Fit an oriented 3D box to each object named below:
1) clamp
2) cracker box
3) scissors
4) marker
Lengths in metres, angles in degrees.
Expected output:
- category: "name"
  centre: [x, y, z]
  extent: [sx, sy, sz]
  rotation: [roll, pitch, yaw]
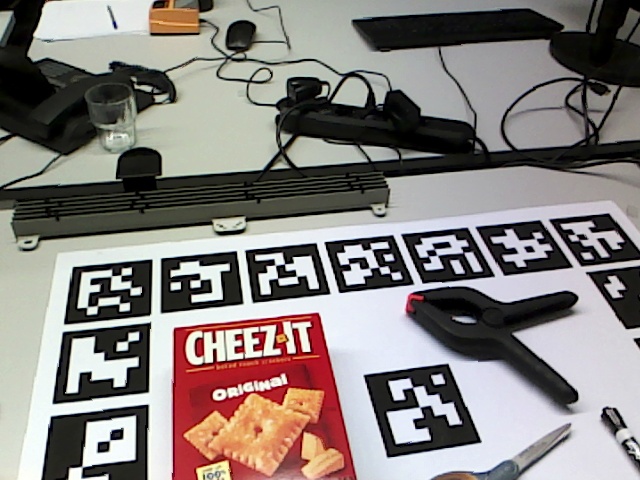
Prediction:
- category: "clamp"
  centre: [0.193, 0.104, 0.767]
  extent: [0.203, 0.036, 0.165]
  rotation: [15, 41, 14]
- category: "cracker box"
  centre: [-0.065, 0.178, 0.628]
  extent: [0.164, 0.072, 0.214]
  rotation: [-5, 41, -7]
- category: "scissors"
  centre: [0.177, 0.227, 0.617]
  extent: [0.202, 0.016, 0.088]
  rotation: [-26, 47, -31]
- category: "marker"
  centre: [0.318, 0.216, 0.633]
  extent: [0.019, 0.019, 0.122]
  rotation: [-8, 41, -11]
